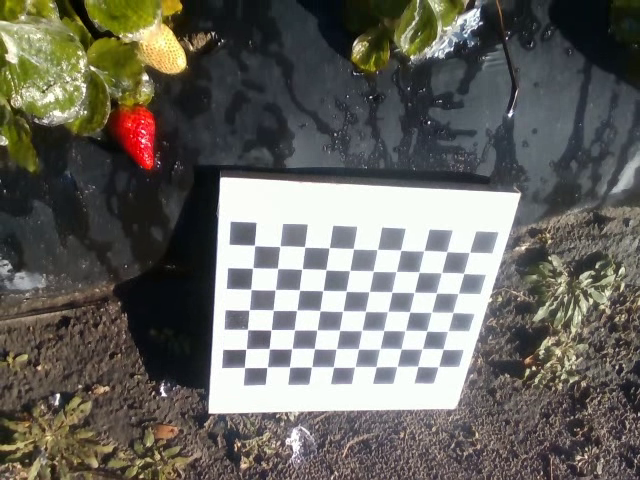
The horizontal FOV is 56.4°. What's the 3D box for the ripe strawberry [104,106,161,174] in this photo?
[{"bbox_3d":[-0.149,-0.079,0.484,0.041,0.052,0.040,-14,21,-5],"label":"ripe strawberry"}]
